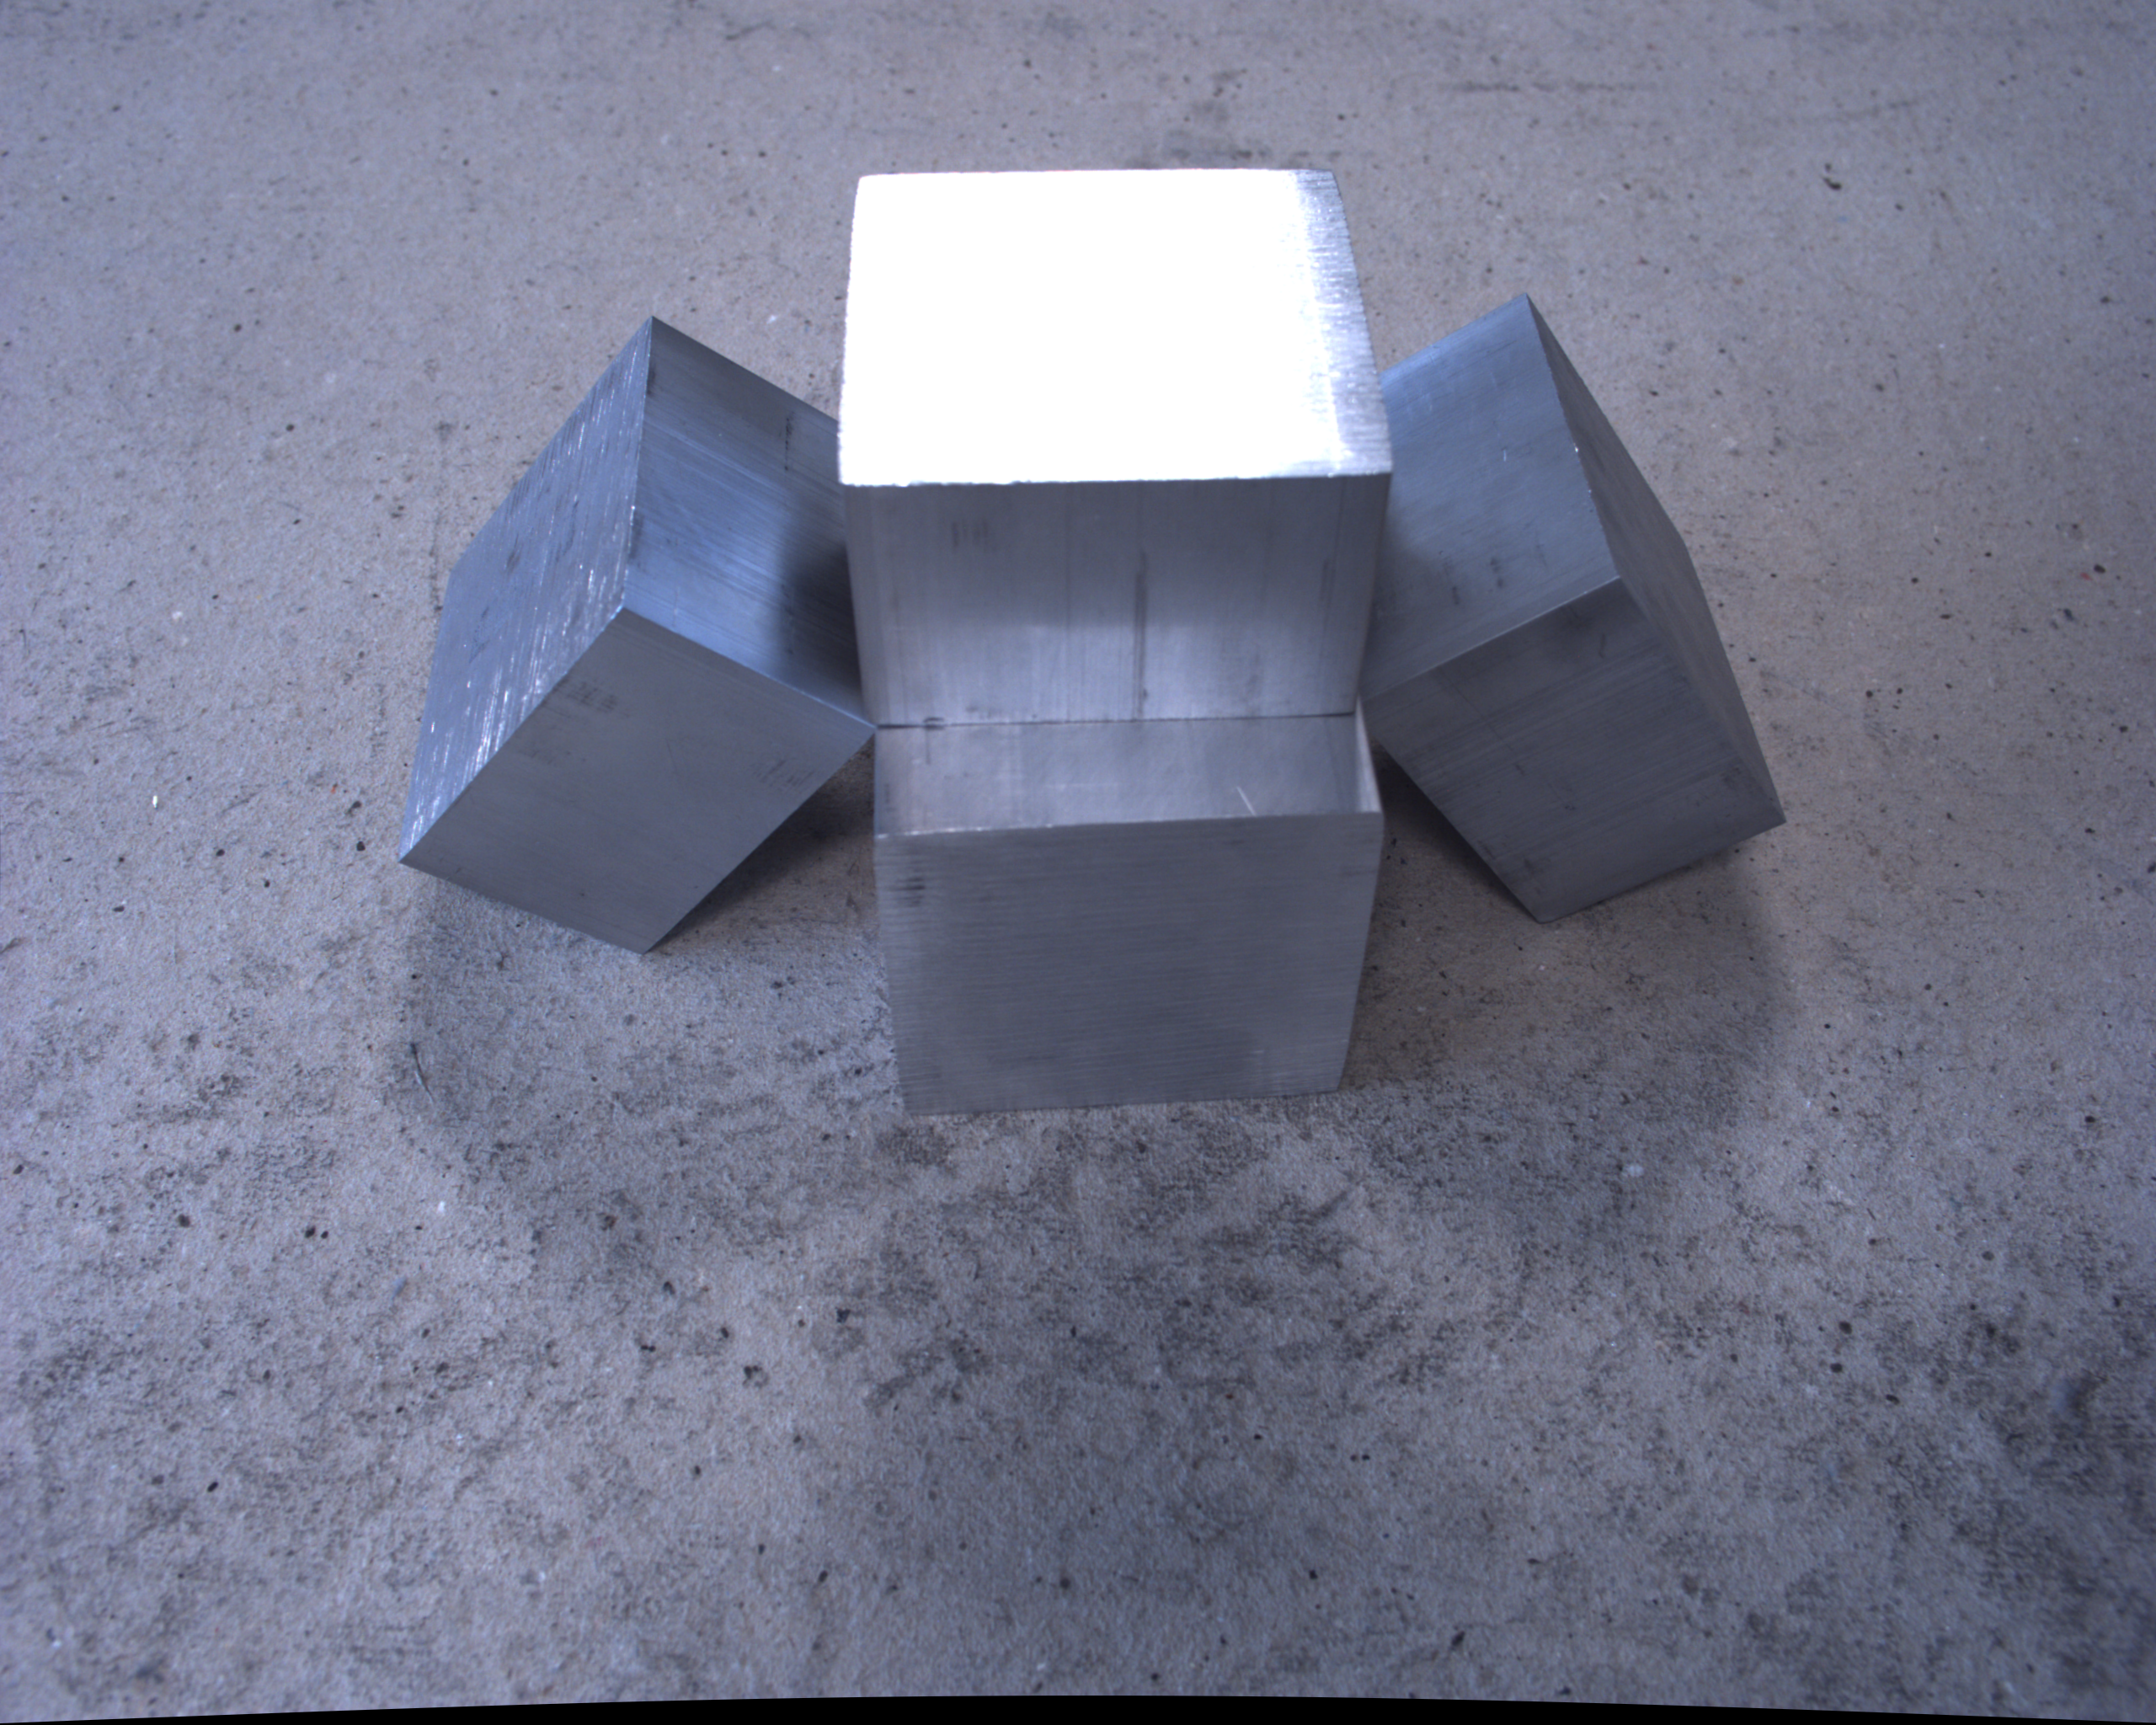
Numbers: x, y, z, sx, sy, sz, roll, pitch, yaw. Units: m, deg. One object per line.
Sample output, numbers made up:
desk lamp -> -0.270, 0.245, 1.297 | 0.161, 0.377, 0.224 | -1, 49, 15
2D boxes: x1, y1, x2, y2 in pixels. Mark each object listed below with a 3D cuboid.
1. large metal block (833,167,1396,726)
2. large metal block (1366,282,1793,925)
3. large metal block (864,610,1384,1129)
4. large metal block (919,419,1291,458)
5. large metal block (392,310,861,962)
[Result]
large metal block -> 0.004, -0.069, 0.343 | 0.081, 0.050, 0.080 | -2, 50, -1
large metal block -> 0.088, -0.048, 0.400 | 0.050, 0.080, 0.080 | -26, 46, 24
large metal block -> 0.006, 0.002, 0.369 | 0.081, 0.080, 0.050 | -3, 50, -2
large metal block -> 0.003, -0.069, 0.427 | 0.081, 0.080, 0.050 | -1, 50, -2
large metal block -> -0.082, -0.041, 0.394 | 0.050, 0.080, 0.080 | 26, 41, -31
